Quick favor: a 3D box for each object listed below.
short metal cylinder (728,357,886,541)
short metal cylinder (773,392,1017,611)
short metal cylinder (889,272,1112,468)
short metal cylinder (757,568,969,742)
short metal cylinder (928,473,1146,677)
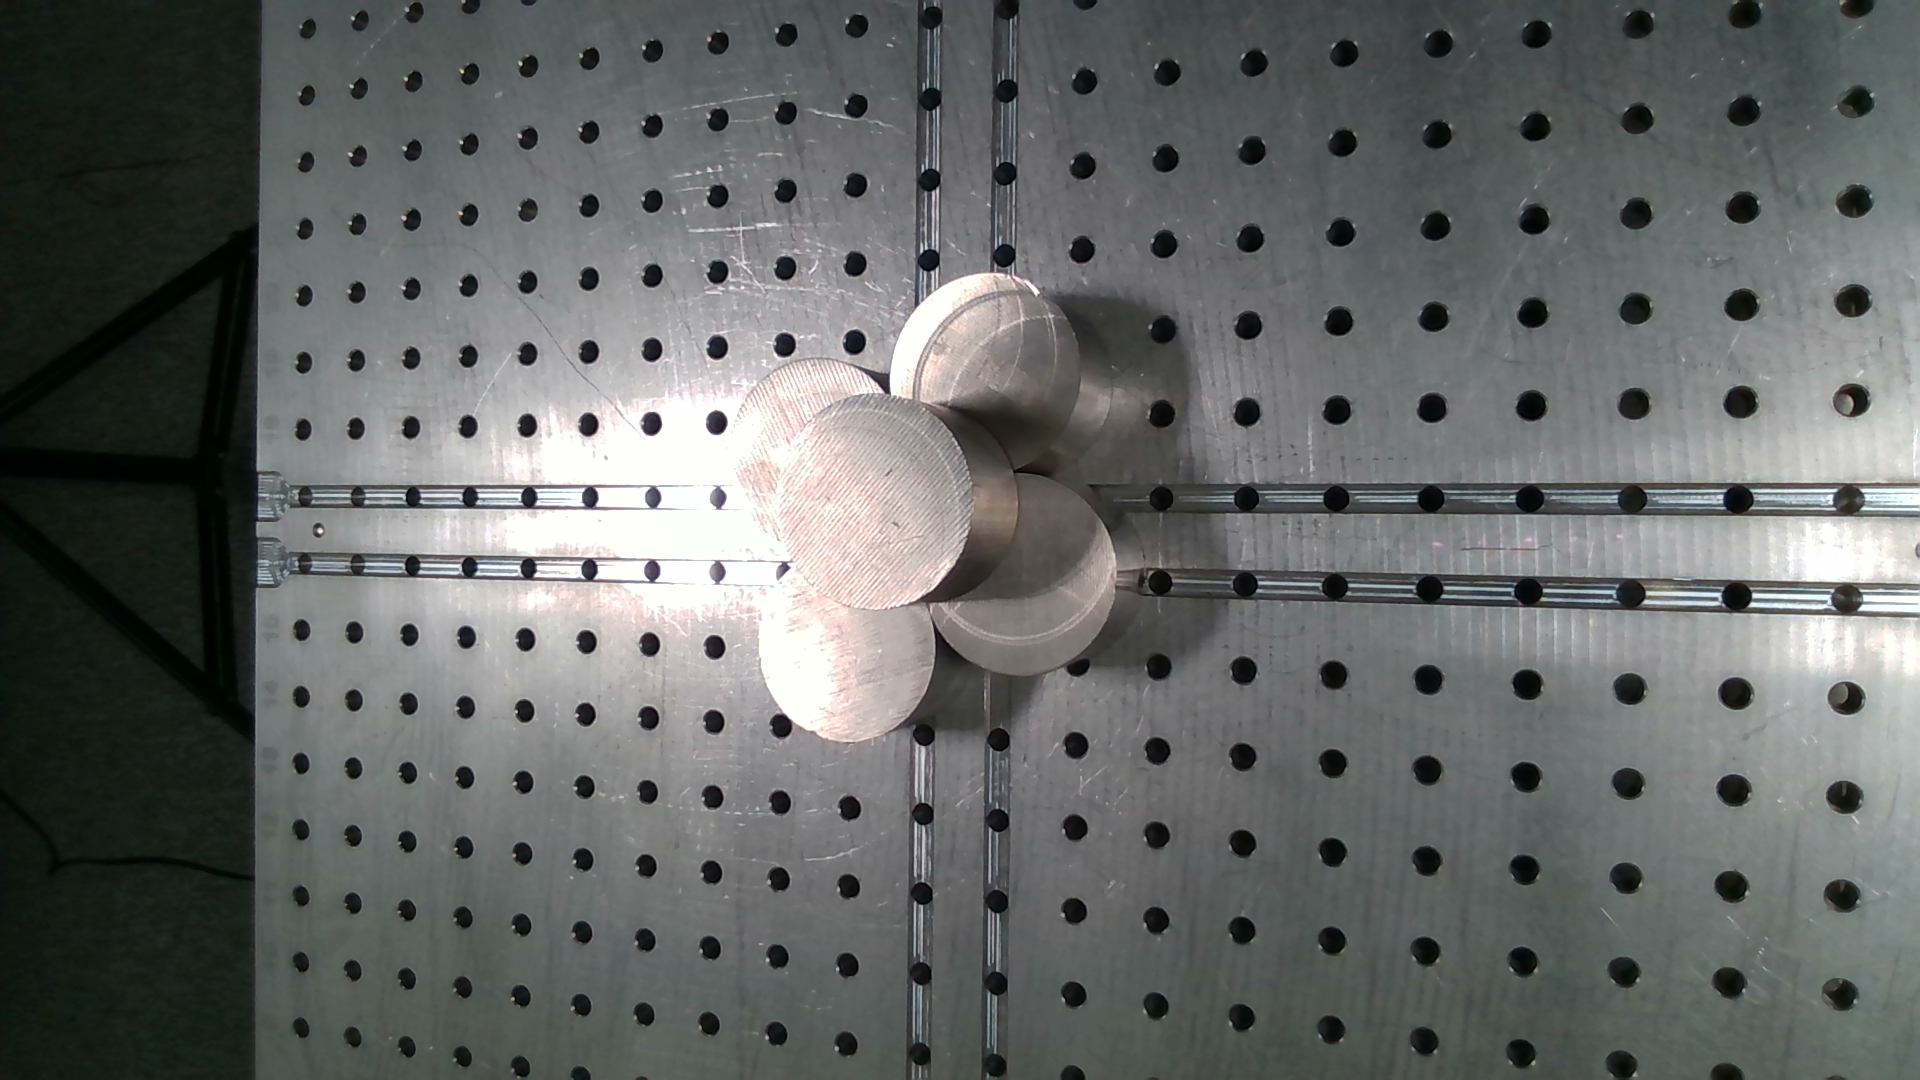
[{"bbox_3d":[-0.052,-0.036,0.593,0.080,0.050,0.080,0,90,20],"label":"short metal cylinder"},{"bbox_3d":[-0.024,-0.014,0.528,0.080,0.050,0.080,0,91,22],"label":"short metal cylinder"},{"bbox_3d":[0.018,-0.066,0.567,0.080,0.050,0.080,0,90,20],"label":"short metal cylinder"},{"bbox_3d":[-0.039,0.043,0.589,0.080,0.050,0.080,0,90,20],"label":"short metal cylinder"},{"bbox_3d":[0.031,0.014,0.563,0.080,0.050,0.080,0,90,20],"label":"short metal cylinder"}]
